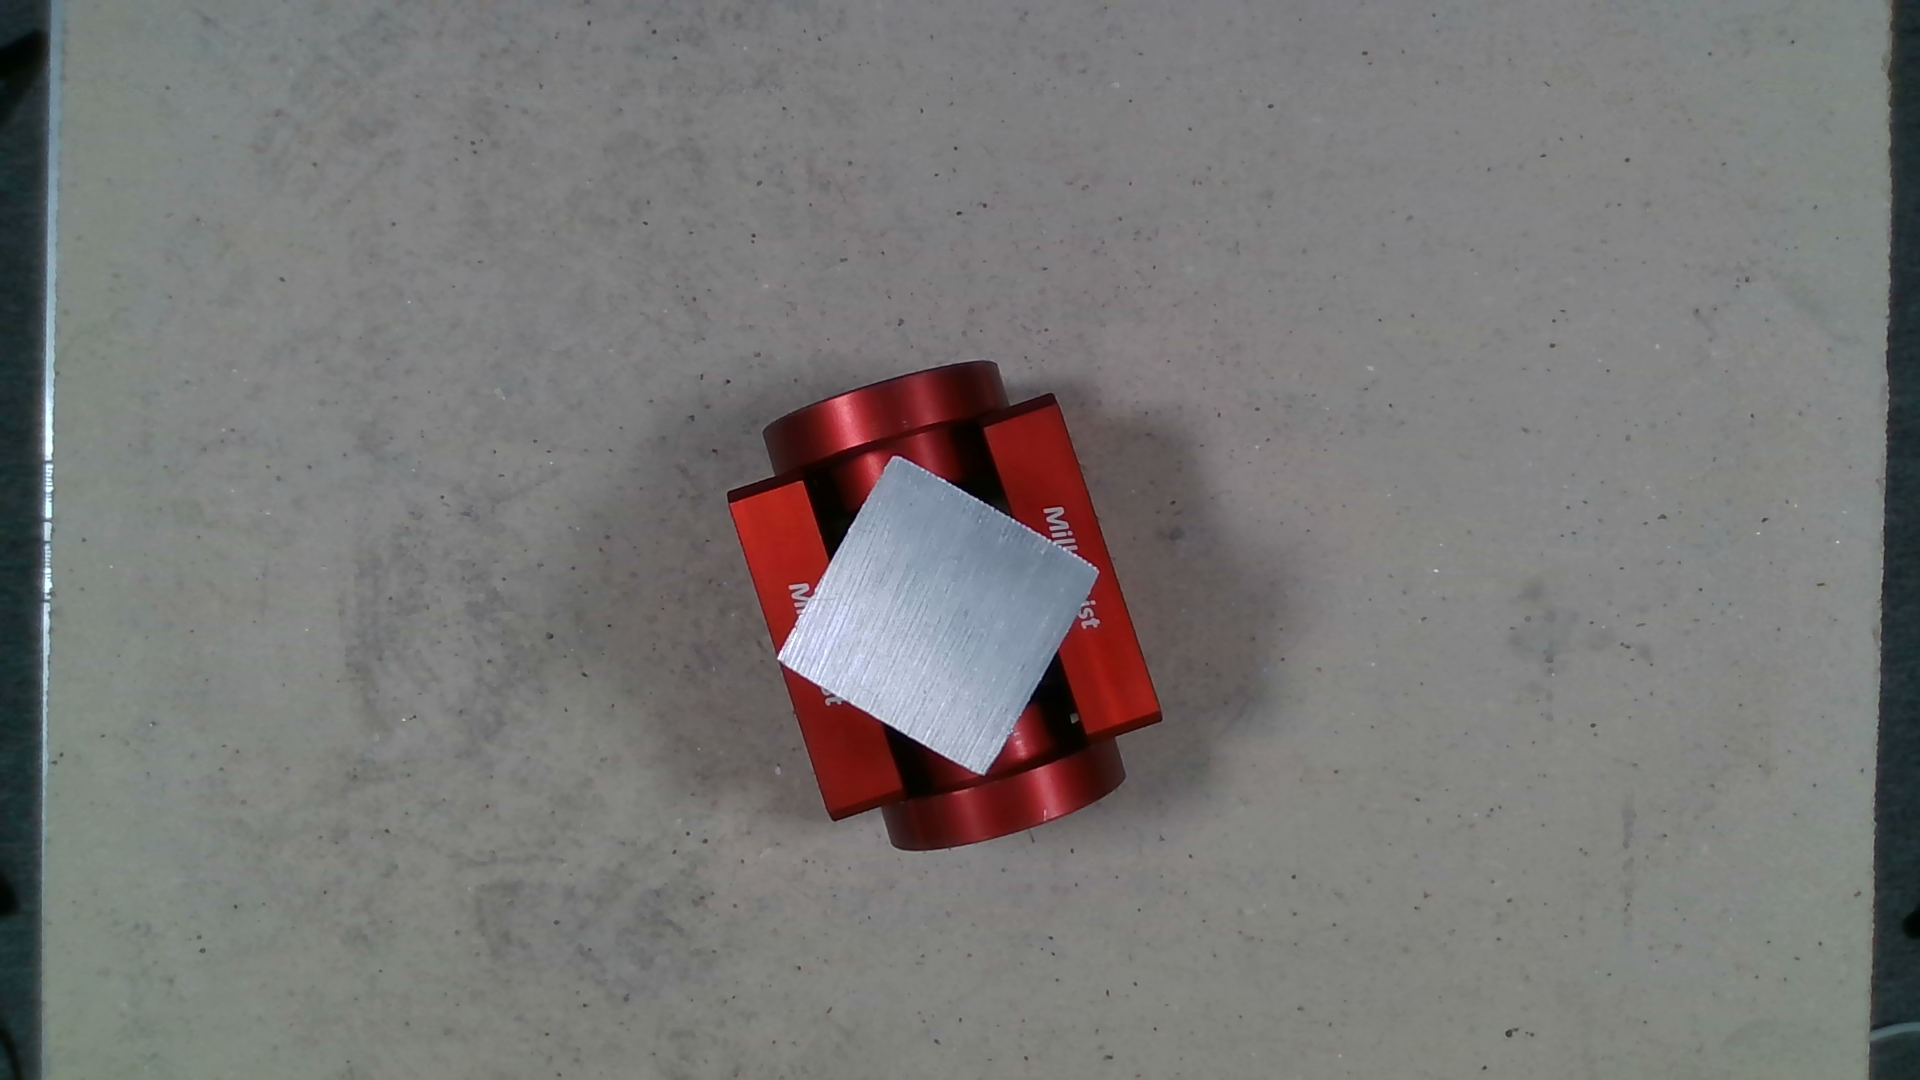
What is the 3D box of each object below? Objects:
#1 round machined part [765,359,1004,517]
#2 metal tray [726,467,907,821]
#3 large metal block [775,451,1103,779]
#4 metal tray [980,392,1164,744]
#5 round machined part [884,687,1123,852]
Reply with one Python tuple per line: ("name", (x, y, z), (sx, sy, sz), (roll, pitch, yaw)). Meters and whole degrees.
("round machined part", (-0.026, -0.038, 0.550), (0.098, 0.098, 0.042), (-16, 90, 0))
("metal tray", (-0.054, 0.039, 0.553), (0.030, 0.090, 0.130), (-18, 90, 0))
("large metal block", (-0.007, 0.025, 0.482), (0.080, 0.050, 0.080), (30, 90, 0))
("metal tray", (0.042, 0.010, 0.556), (0.030, 0.090, 0.130), (-19, 90, 0))
("round machined part", (0.013, 0.088, 0.551), (0.098, 0.098, 0.042), (-16, 90, 0))
